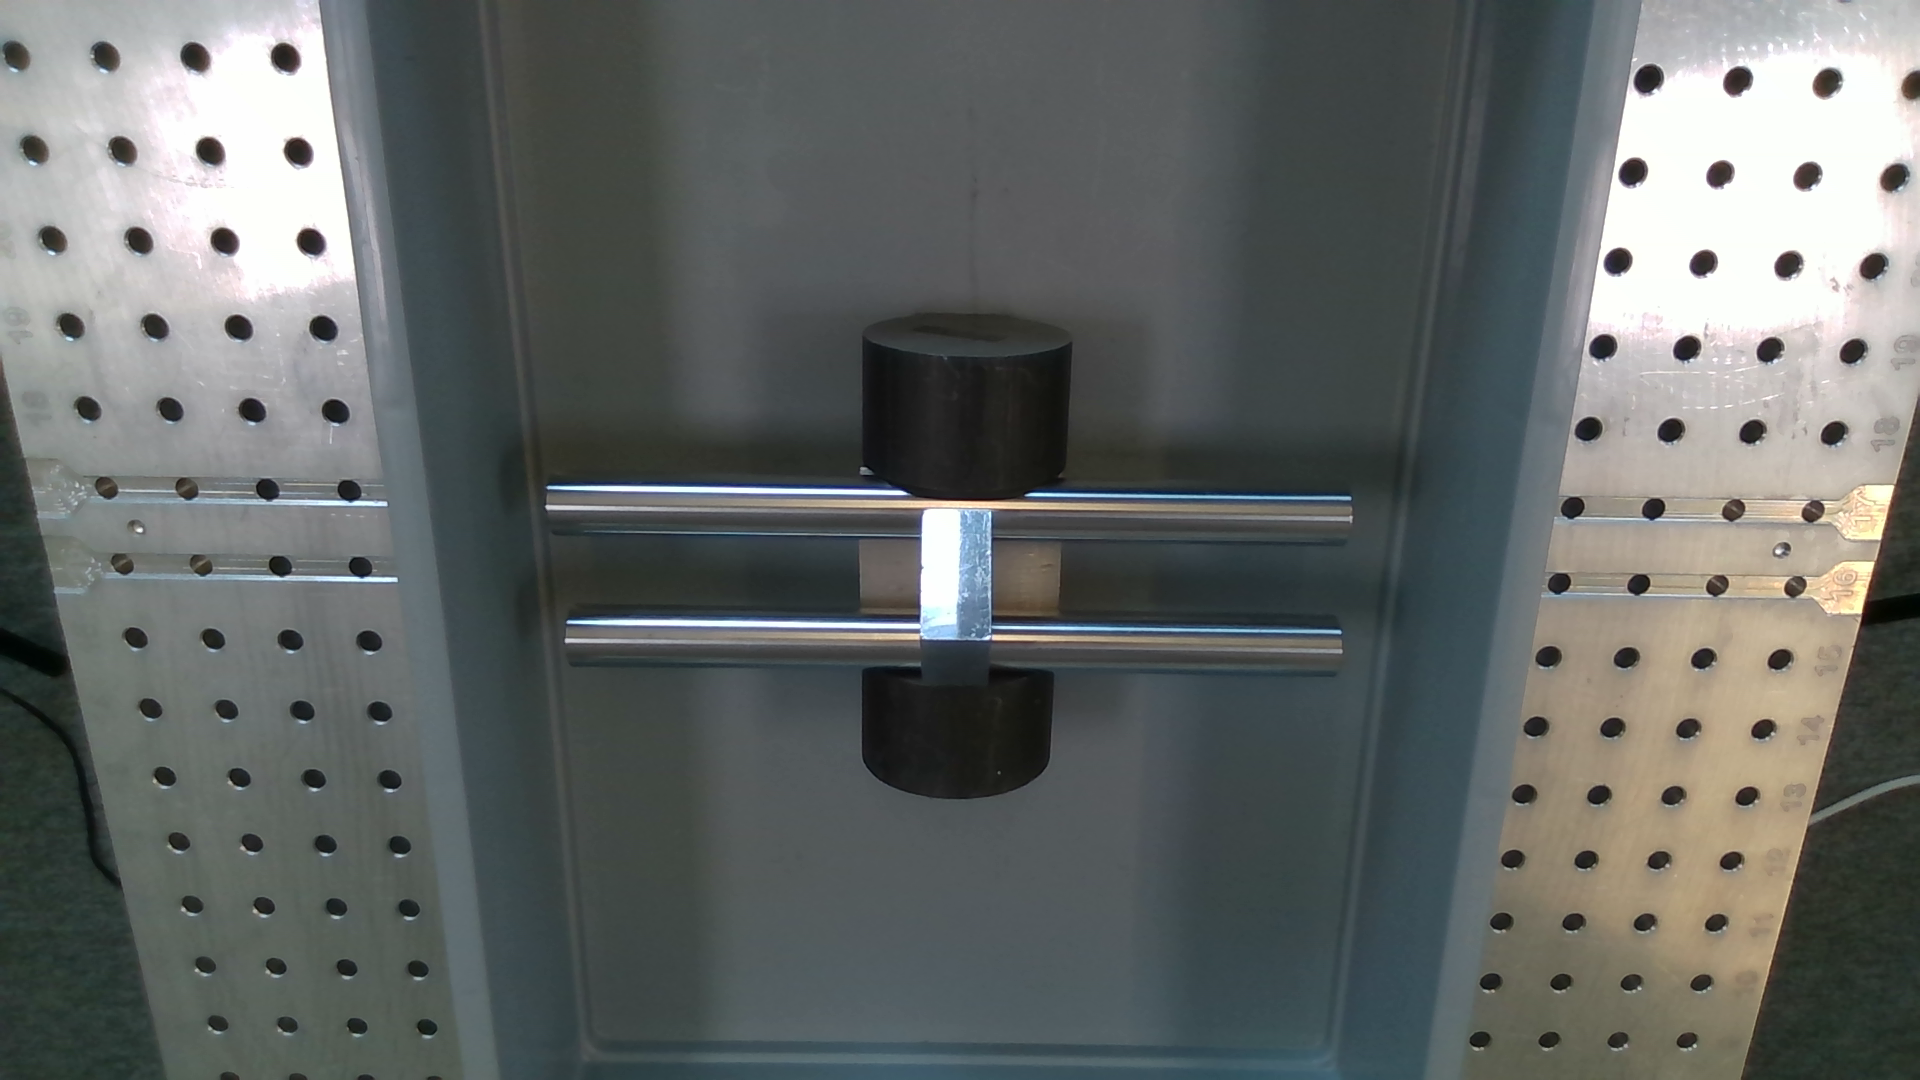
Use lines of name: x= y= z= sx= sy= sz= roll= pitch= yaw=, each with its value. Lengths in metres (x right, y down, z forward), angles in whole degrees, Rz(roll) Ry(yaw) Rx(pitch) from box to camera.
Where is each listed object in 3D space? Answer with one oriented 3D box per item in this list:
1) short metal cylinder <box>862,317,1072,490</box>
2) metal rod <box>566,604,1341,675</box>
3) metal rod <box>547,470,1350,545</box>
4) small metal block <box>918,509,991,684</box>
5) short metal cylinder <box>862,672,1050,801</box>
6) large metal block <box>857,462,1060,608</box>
short metal cylinder: x=0.002 y=-0.056 z=0.534 sx=0.080 sy=0.080 sz=0.050 roll=1 pitch=110 yaw=0
metal rod: x=-0.002 y=0.039 z=0.546 sx=0.300 sy=0.025 sz=0.025 roll=1 pitch=110 yaw=0
metal rod: x=-0.004 y=-0.012 z=0.526 sx=0.300 sy=0.025 sz=0.025 roll=1 pitch=110 yaw=0
small metal block: x=-0.002 y=0.022 z=0.512 sx=0.025 sy=0.050 sz=0.050 roll=1 pitch=66 yaw=0
short metal cylinder: x=-0.002 y=0.067 z=0.579 sx=0.080 sy=0.080 sz=0.050 roll=1 pitch=109 yaw=0
large metal block: x=-0.001 y=0.000 z=0.570 sx=0.080 sy=0.050 sz=0.080 roll=1 pitch=110 yaw=0
